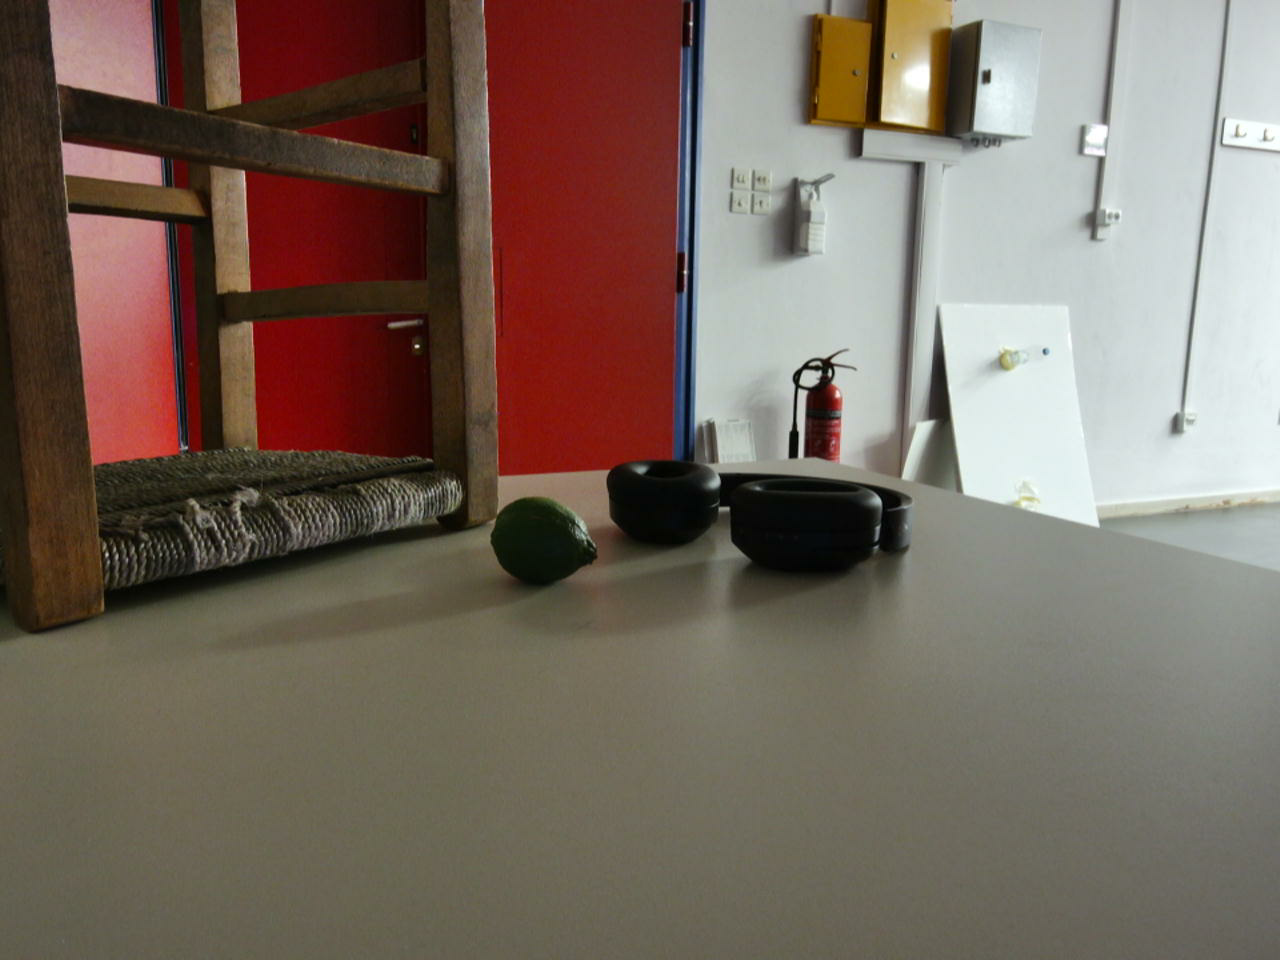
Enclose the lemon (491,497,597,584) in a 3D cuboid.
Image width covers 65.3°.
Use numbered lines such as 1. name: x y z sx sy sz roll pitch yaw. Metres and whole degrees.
1. lemon: -0.060 0.035 0.595 0.057 0.051 0.054 -4 9 -28
